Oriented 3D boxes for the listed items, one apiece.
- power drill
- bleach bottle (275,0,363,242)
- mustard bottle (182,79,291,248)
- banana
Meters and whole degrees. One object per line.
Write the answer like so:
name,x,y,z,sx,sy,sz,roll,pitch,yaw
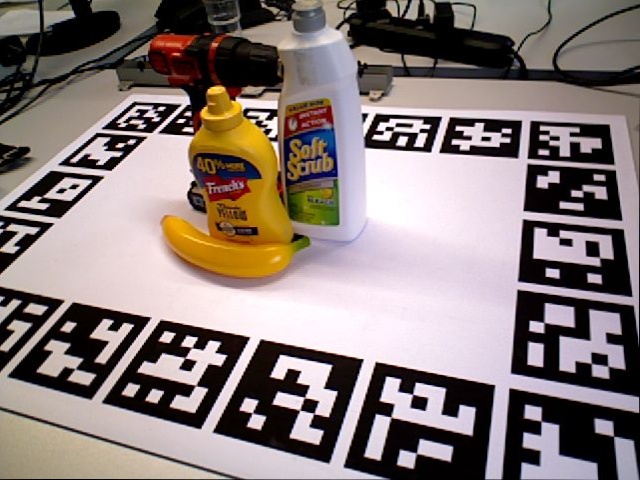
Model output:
power drill,-0.108,-0.139,0.604,0.185,0.191,0.056,18,46,26
bleach bottle,-0.008,-0.120,0.556,0.103,0.256,0.066,10,39,20
mustard bottle,-0.089,-0.073,0.557,0.096,0.195,0.057,9,44,18
banana,-0.108,0.009,0.601,0.198,0.039,0.072,9,46,24
